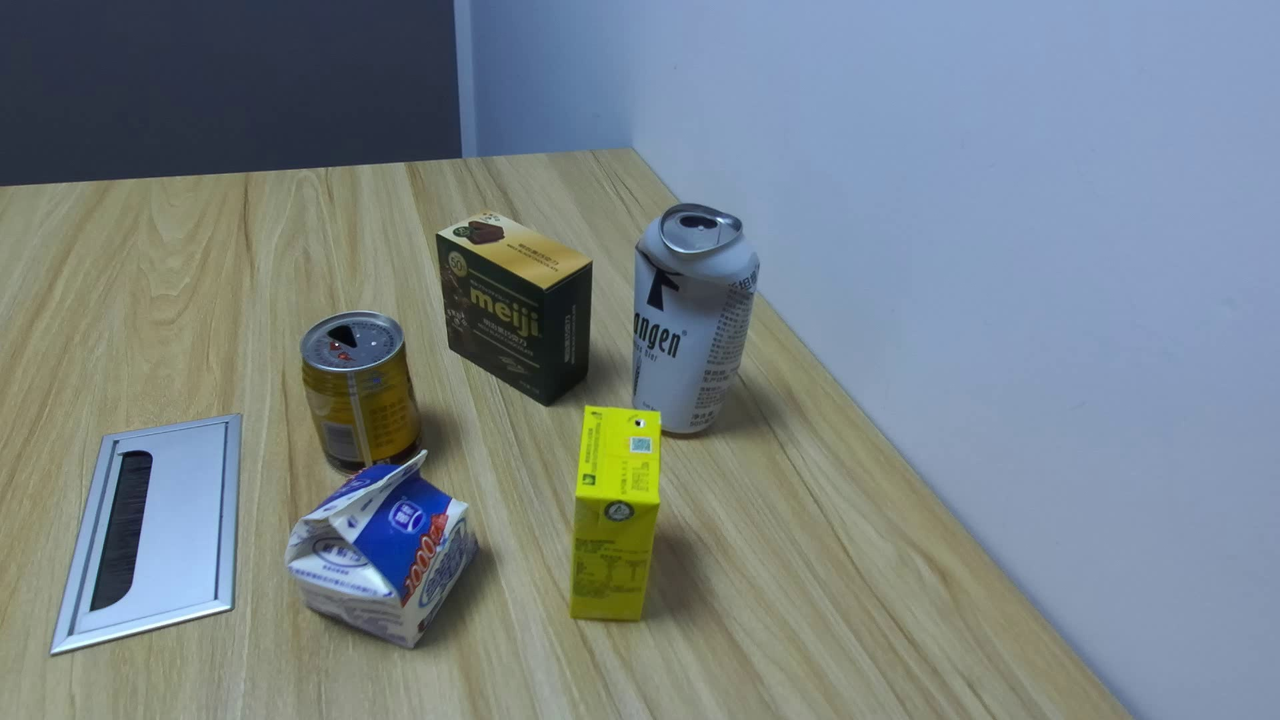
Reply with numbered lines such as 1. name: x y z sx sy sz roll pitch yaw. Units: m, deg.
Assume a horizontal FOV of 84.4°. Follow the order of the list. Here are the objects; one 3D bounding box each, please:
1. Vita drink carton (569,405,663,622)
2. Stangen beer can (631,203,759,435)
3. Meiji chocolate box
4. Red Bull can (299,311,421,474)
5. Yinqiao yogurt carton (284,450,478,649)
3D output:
1. Vita drink carton: -0.014 0.087 0.390 0.043 0.109 0.066 4 39 -2
2. Stangen beer can: 0.032 -0.024 0.489 0.077 0.162 0.065 3 40 -3
3. Meiji chocolate box: -0.094 -0.040 0.535 0.109 0.109 0.056 28 44 25
4. Red Bull can: -0.179 0.023 0.459 0.069 0.092 0.069 4 37 -3
5. Yinqiao yogurt carton: -0.139 0.092 0.377 0.077 0.093 0.083 15 39 11
